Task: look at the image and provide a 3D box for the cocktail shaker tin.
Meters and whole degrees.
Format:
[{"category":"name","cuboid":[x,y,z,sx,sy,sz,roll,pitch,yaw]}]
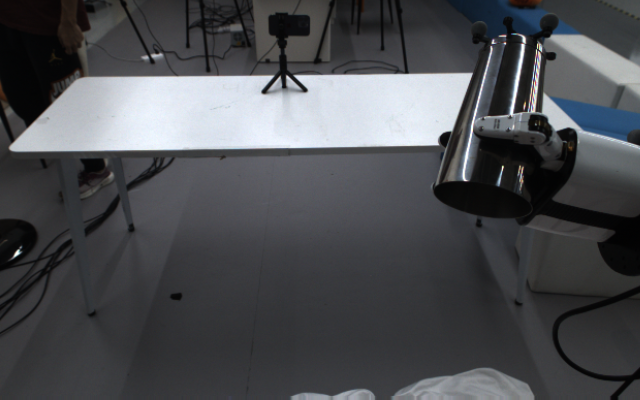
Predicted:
[{"category":"cocktail shaker tin","cuboid":[0.181,-0.076,0.490,0.093,0.093,0.170,13,73,15]}]
